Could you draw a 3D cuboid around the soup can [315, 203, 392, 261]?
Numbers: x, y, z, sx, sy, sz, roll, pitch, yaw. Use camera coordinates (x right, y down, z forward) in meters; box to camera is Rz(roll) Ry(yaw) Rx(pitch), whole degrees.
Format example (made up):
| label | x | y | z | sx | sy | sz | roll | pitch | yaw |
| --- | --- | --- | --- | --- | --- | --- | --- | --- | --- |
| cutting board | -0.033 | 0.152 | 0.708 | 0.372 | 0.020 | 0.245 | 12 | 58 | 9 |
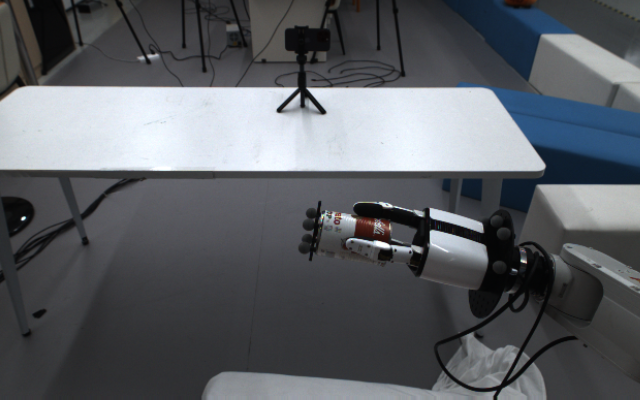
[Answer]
| label | x | y | z | sx | sy | sz | roll | pitch | yaw |
| --- | --- | --- | --- | --- | --- | --- | --- | --- | --- |
| soup can | 0.050 | 0.055 | 0.701 | 0.101 | 0.067 | 0.067 | 9 | 35 | 0 |
